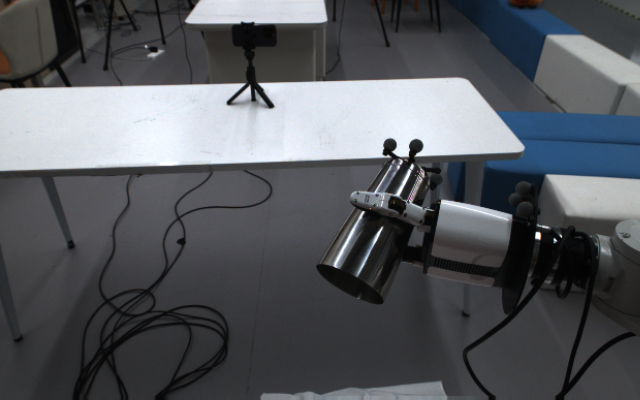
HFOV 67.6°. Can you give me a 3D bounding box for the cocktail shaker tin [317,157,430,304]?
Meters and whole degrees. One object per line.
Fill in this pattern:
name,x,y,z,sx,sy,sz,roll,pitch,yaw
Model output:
cocktail shaker tin,0.078,0.029,0.609,0.093,0.093,0.170,20,67,24
